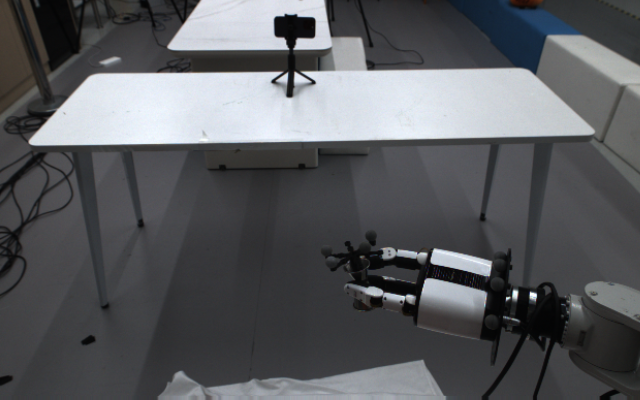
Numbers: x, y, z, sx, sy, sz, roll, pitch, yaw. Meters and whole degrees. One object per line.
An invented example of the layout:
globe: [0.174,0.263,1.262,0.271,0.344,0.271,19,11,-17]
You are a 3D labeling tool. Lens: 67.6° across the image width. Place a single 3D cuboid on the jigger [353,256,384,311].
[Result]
jigger: [0.063,0.124,0.715,0.043,0.071,0.043,-14,21,6]
